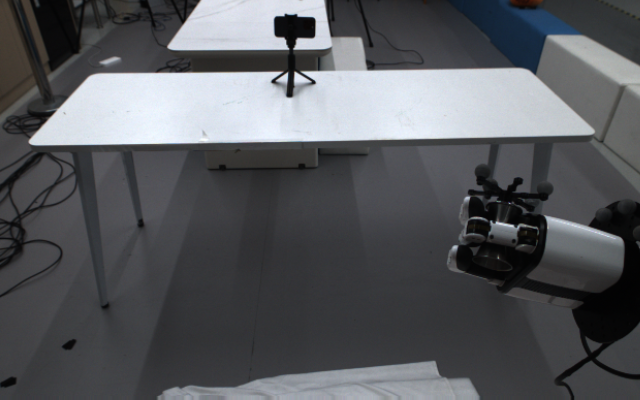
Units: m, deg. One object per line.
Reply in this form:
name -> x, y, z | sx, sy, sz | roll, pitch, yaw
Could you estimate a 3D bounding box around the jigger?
jigger -> 0.201, 0.039, 0.546 | 0.043, 0.043, 0.071 | 13, 73, 15
